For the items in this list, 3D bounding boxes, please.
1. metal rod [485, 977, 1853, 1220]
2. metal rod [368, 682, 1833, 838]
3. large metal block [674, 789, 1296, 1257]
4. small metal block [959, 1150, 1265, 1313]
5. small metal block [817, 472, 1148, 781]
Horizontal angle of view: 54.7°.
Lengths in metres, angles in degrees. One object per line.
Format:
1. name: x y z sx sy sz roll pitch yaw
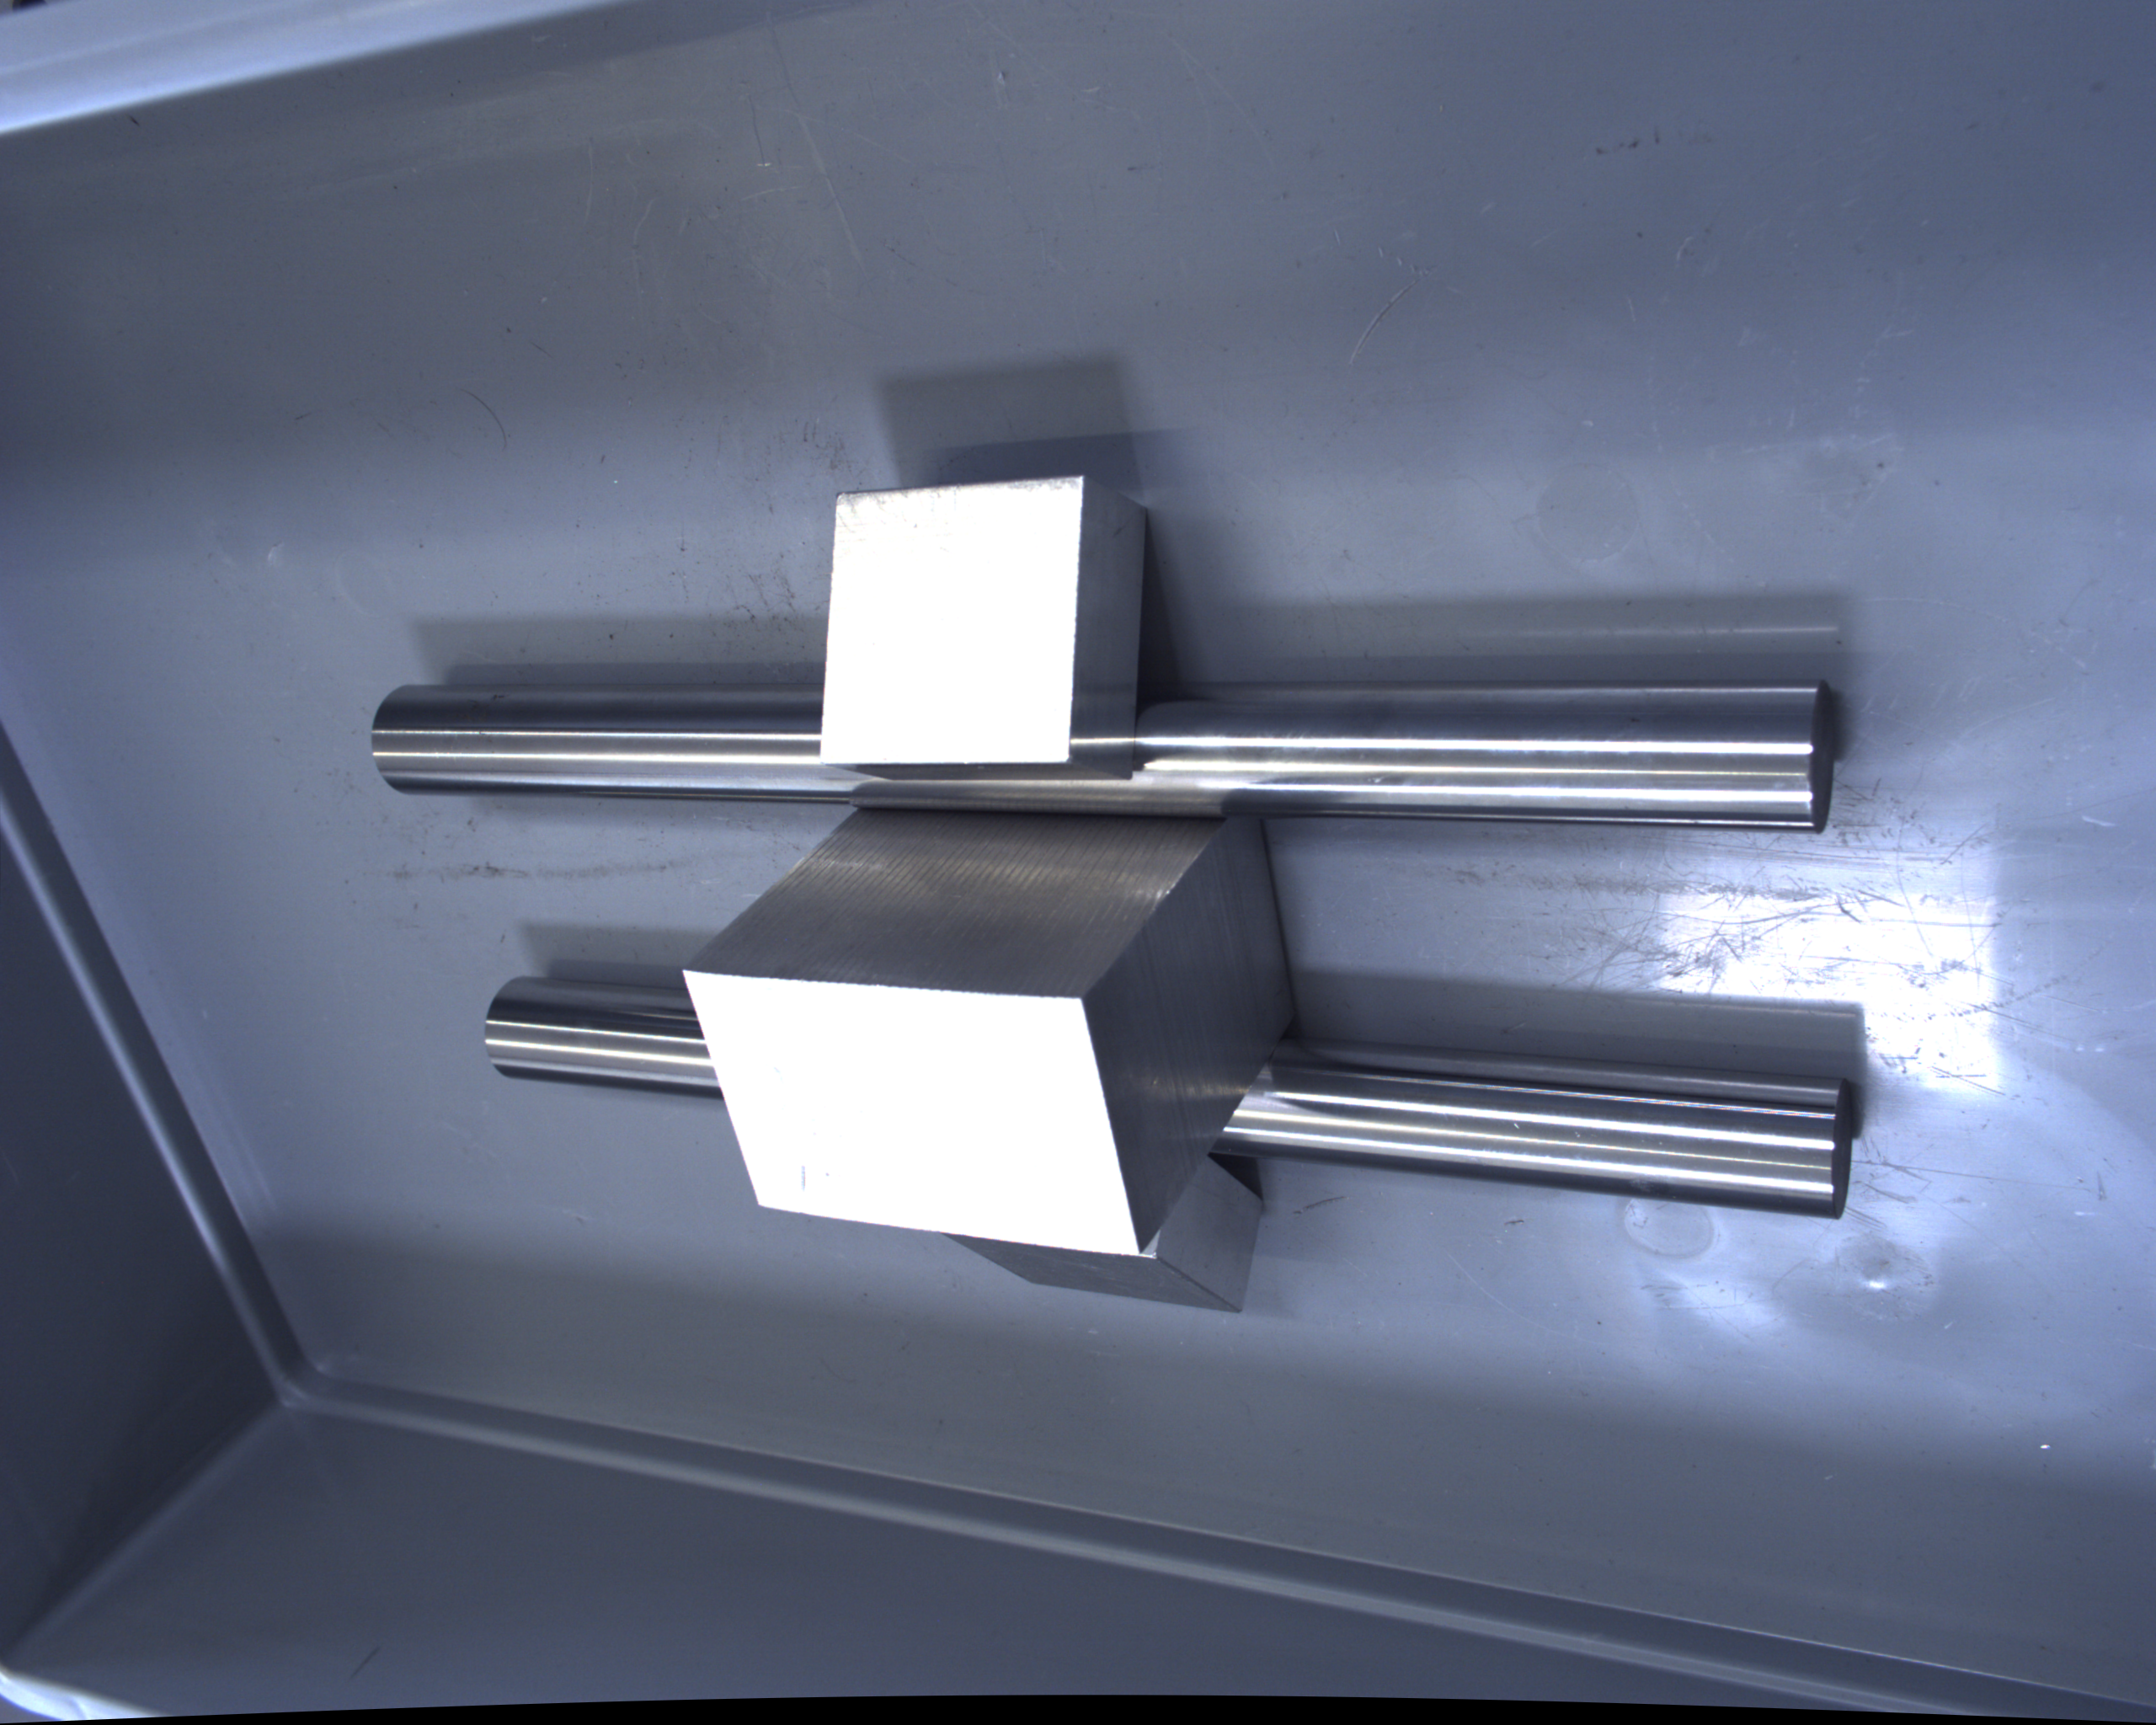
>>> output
1. metal rod: 0.000 0.045 0.434 0.301 0.025 0.025 2 120 27
2. metal rod: -0.015 -0.022 0.400 0.301 0.025 0.025 2 120 27
3. large metal block: -0.014 0.025 0.392 0.080 0.080 0.050 2 119 27
4. small metal block: 0.005 0.072 0.433 0.050 0.025 0.050 3 157 26
5. small metal block: -0.017 -0.041 0.375 0.050 0.025 0.050 1 84 27
